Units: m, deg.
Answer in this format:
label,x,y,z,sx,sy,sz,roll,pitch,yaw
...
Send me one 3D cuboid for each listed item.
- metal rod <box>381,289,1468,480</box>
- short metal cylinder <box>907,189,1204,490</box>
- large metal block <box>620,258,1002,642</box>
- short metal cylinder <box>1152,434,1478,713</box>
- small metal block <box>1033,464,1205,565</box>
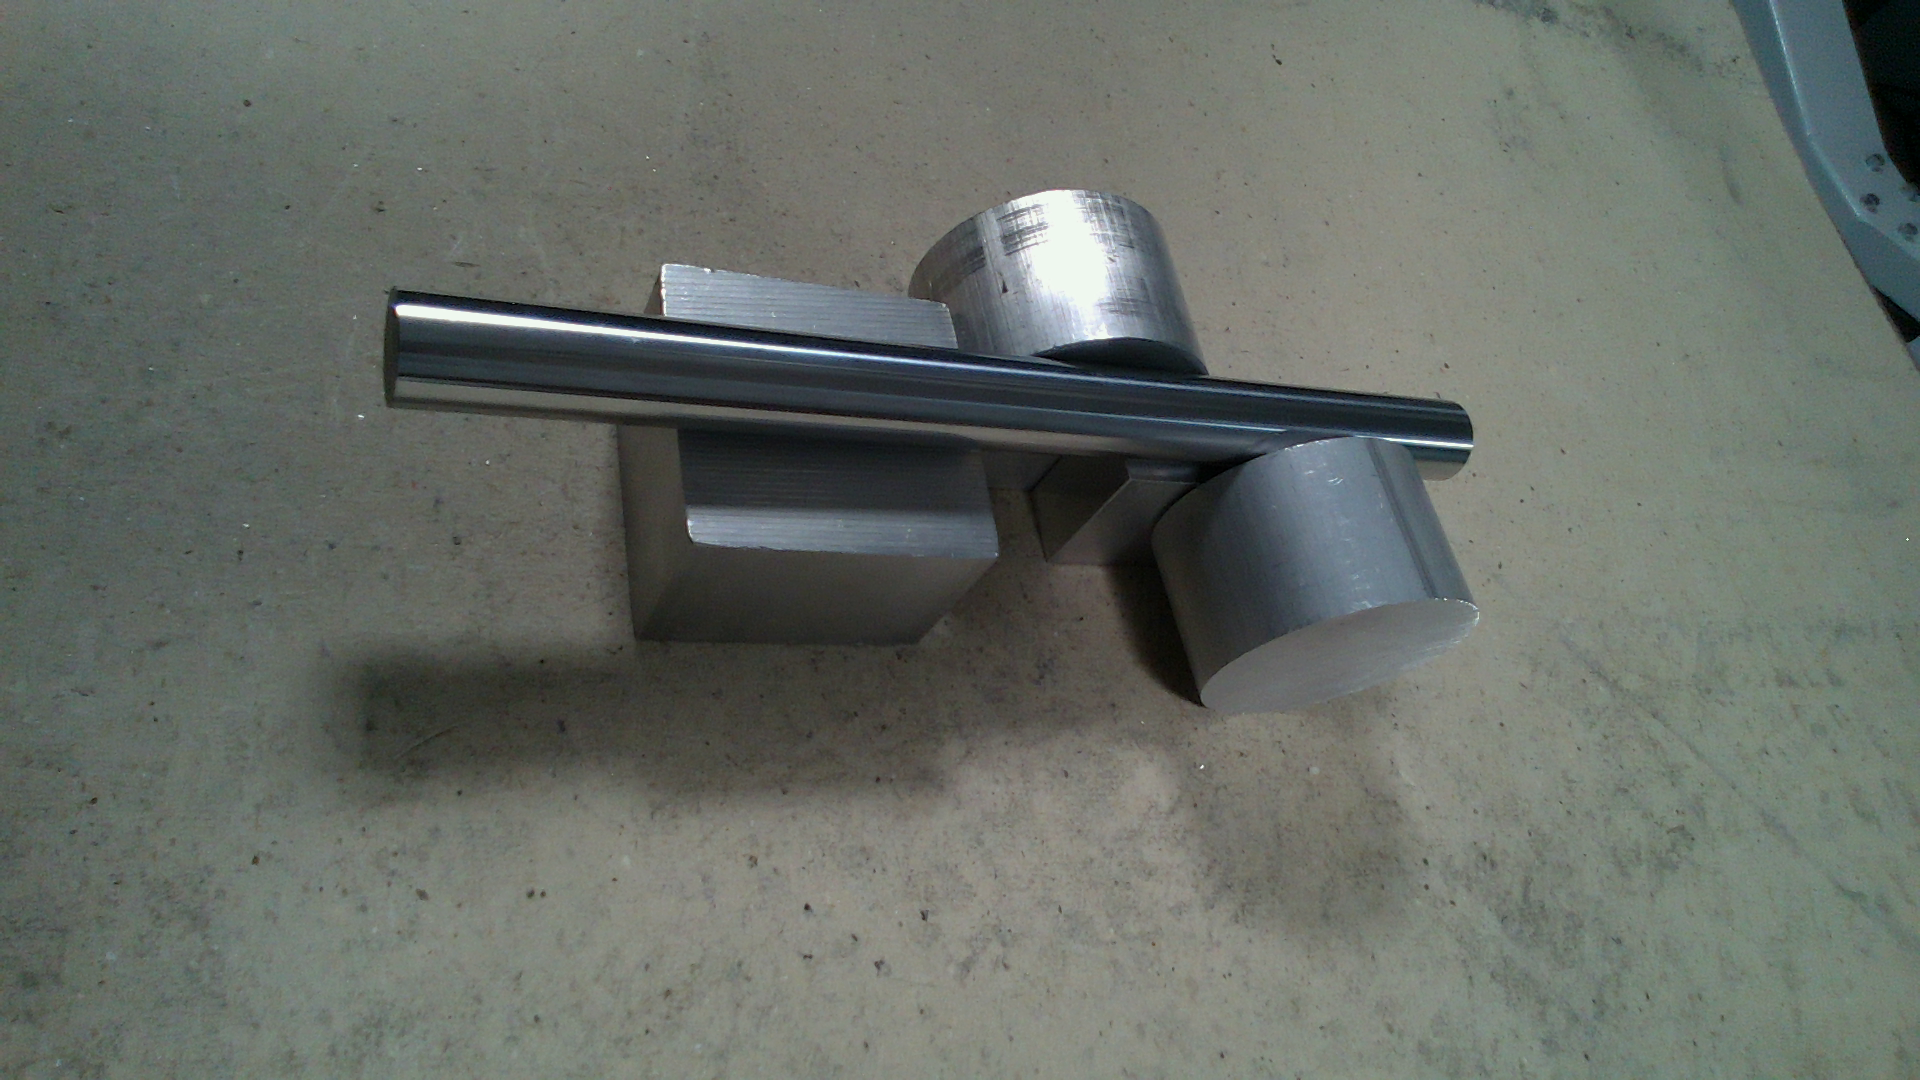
label,x,y,z,sx,sy,sz,roll,pitch,yaw
metal rod,0.015,-0.035,0.354,0.301,0.025,0.025,2,61,-29
short metal cylinder,0.027,-0.057,0.405,0.080,0.080,0.050,2,61,-27
large metal block,-0.043,-0.021,0.360,0.080,0.050,0.080,3,60,-27
short metal cylinder,0.102,0.012,0.401,0.080,0.080,0.050,0,62,-28
small metal block,0.057,-0.015,0.413,0.050,0.050,0.025,1,61,-28
